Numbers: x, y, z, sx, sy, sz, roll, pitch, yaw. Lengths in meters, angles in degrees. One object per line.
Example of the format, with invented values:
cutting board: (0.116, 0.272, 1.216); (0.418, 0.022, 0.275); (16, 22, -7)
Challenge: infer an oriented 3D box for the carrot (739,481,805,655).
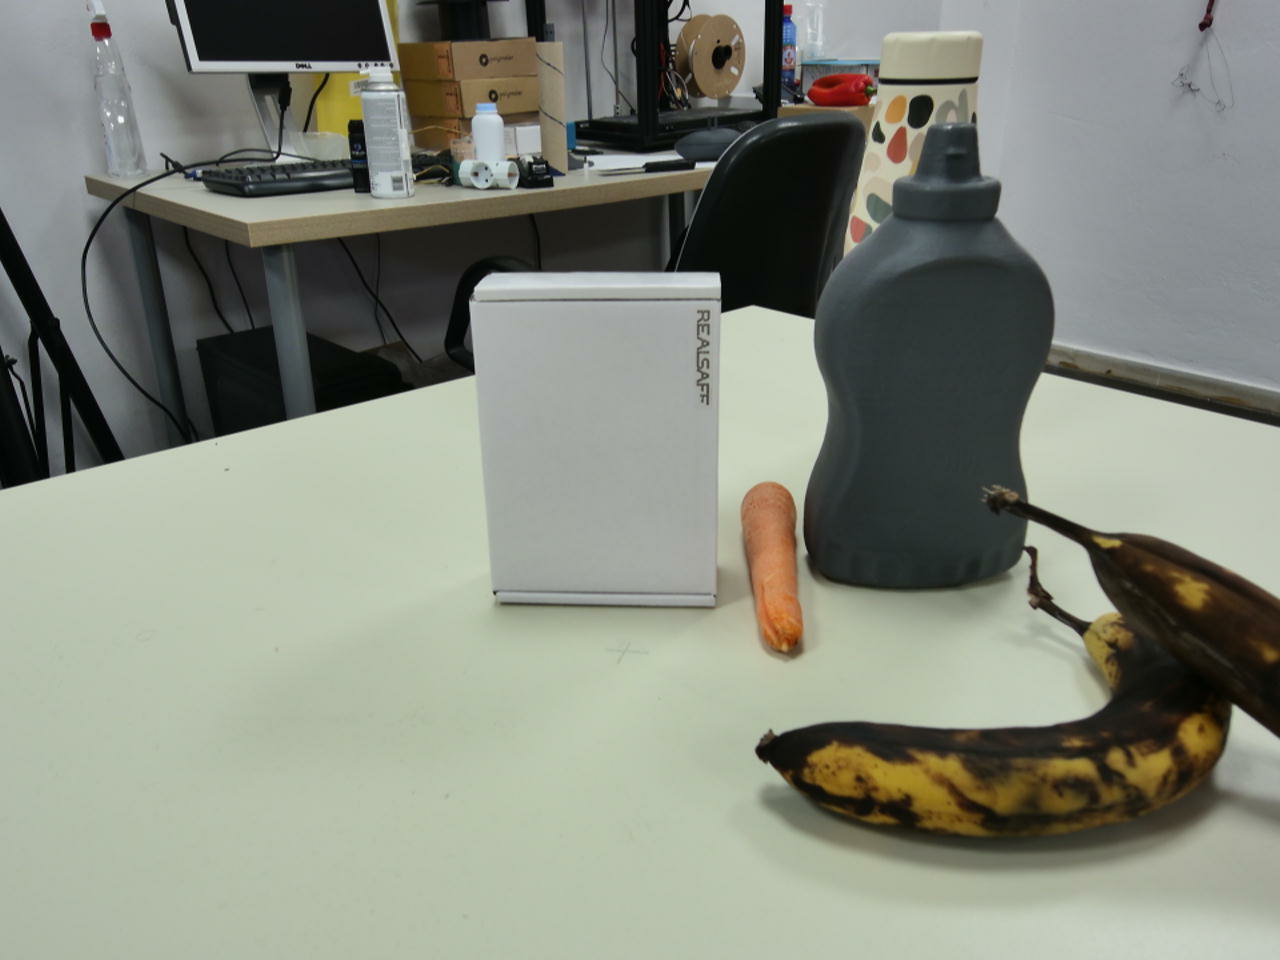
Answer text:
carrot: (0.063, 0.036, 0.475); (0.030, 0.032, 0.136); (1, 22, 4)
